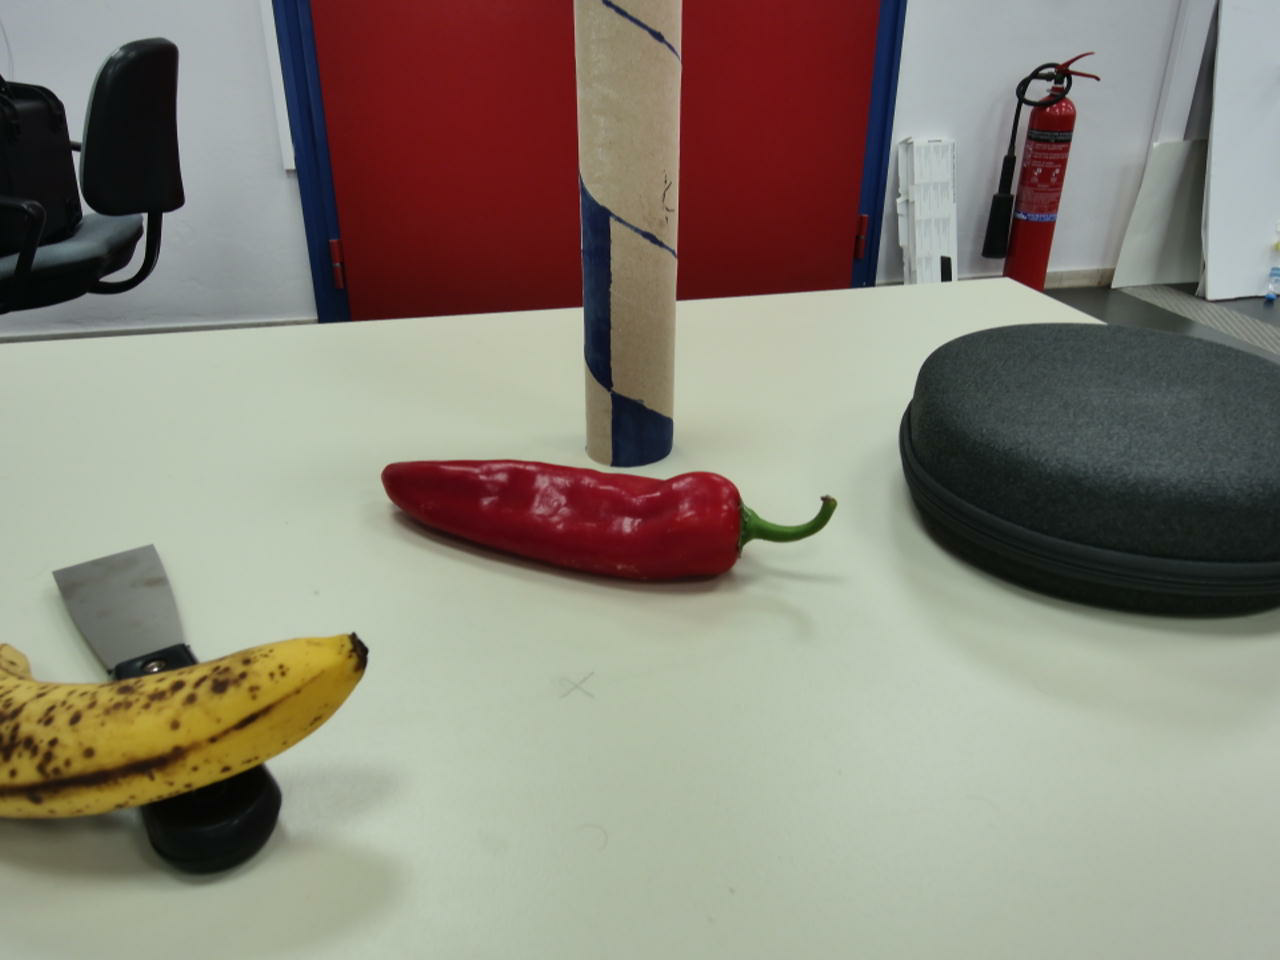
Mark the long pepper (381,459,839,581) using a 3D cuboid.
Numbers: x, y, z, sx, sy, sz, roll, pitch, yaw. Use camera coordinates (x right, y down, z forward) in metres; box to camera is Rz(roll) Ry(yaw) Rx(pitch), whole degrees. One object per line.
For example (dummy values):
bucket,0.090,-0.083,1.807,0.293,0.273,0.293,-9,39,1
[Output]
long pepper,-0.024,0.013,0.430,0.211,0.043,0.050,8,25,17
